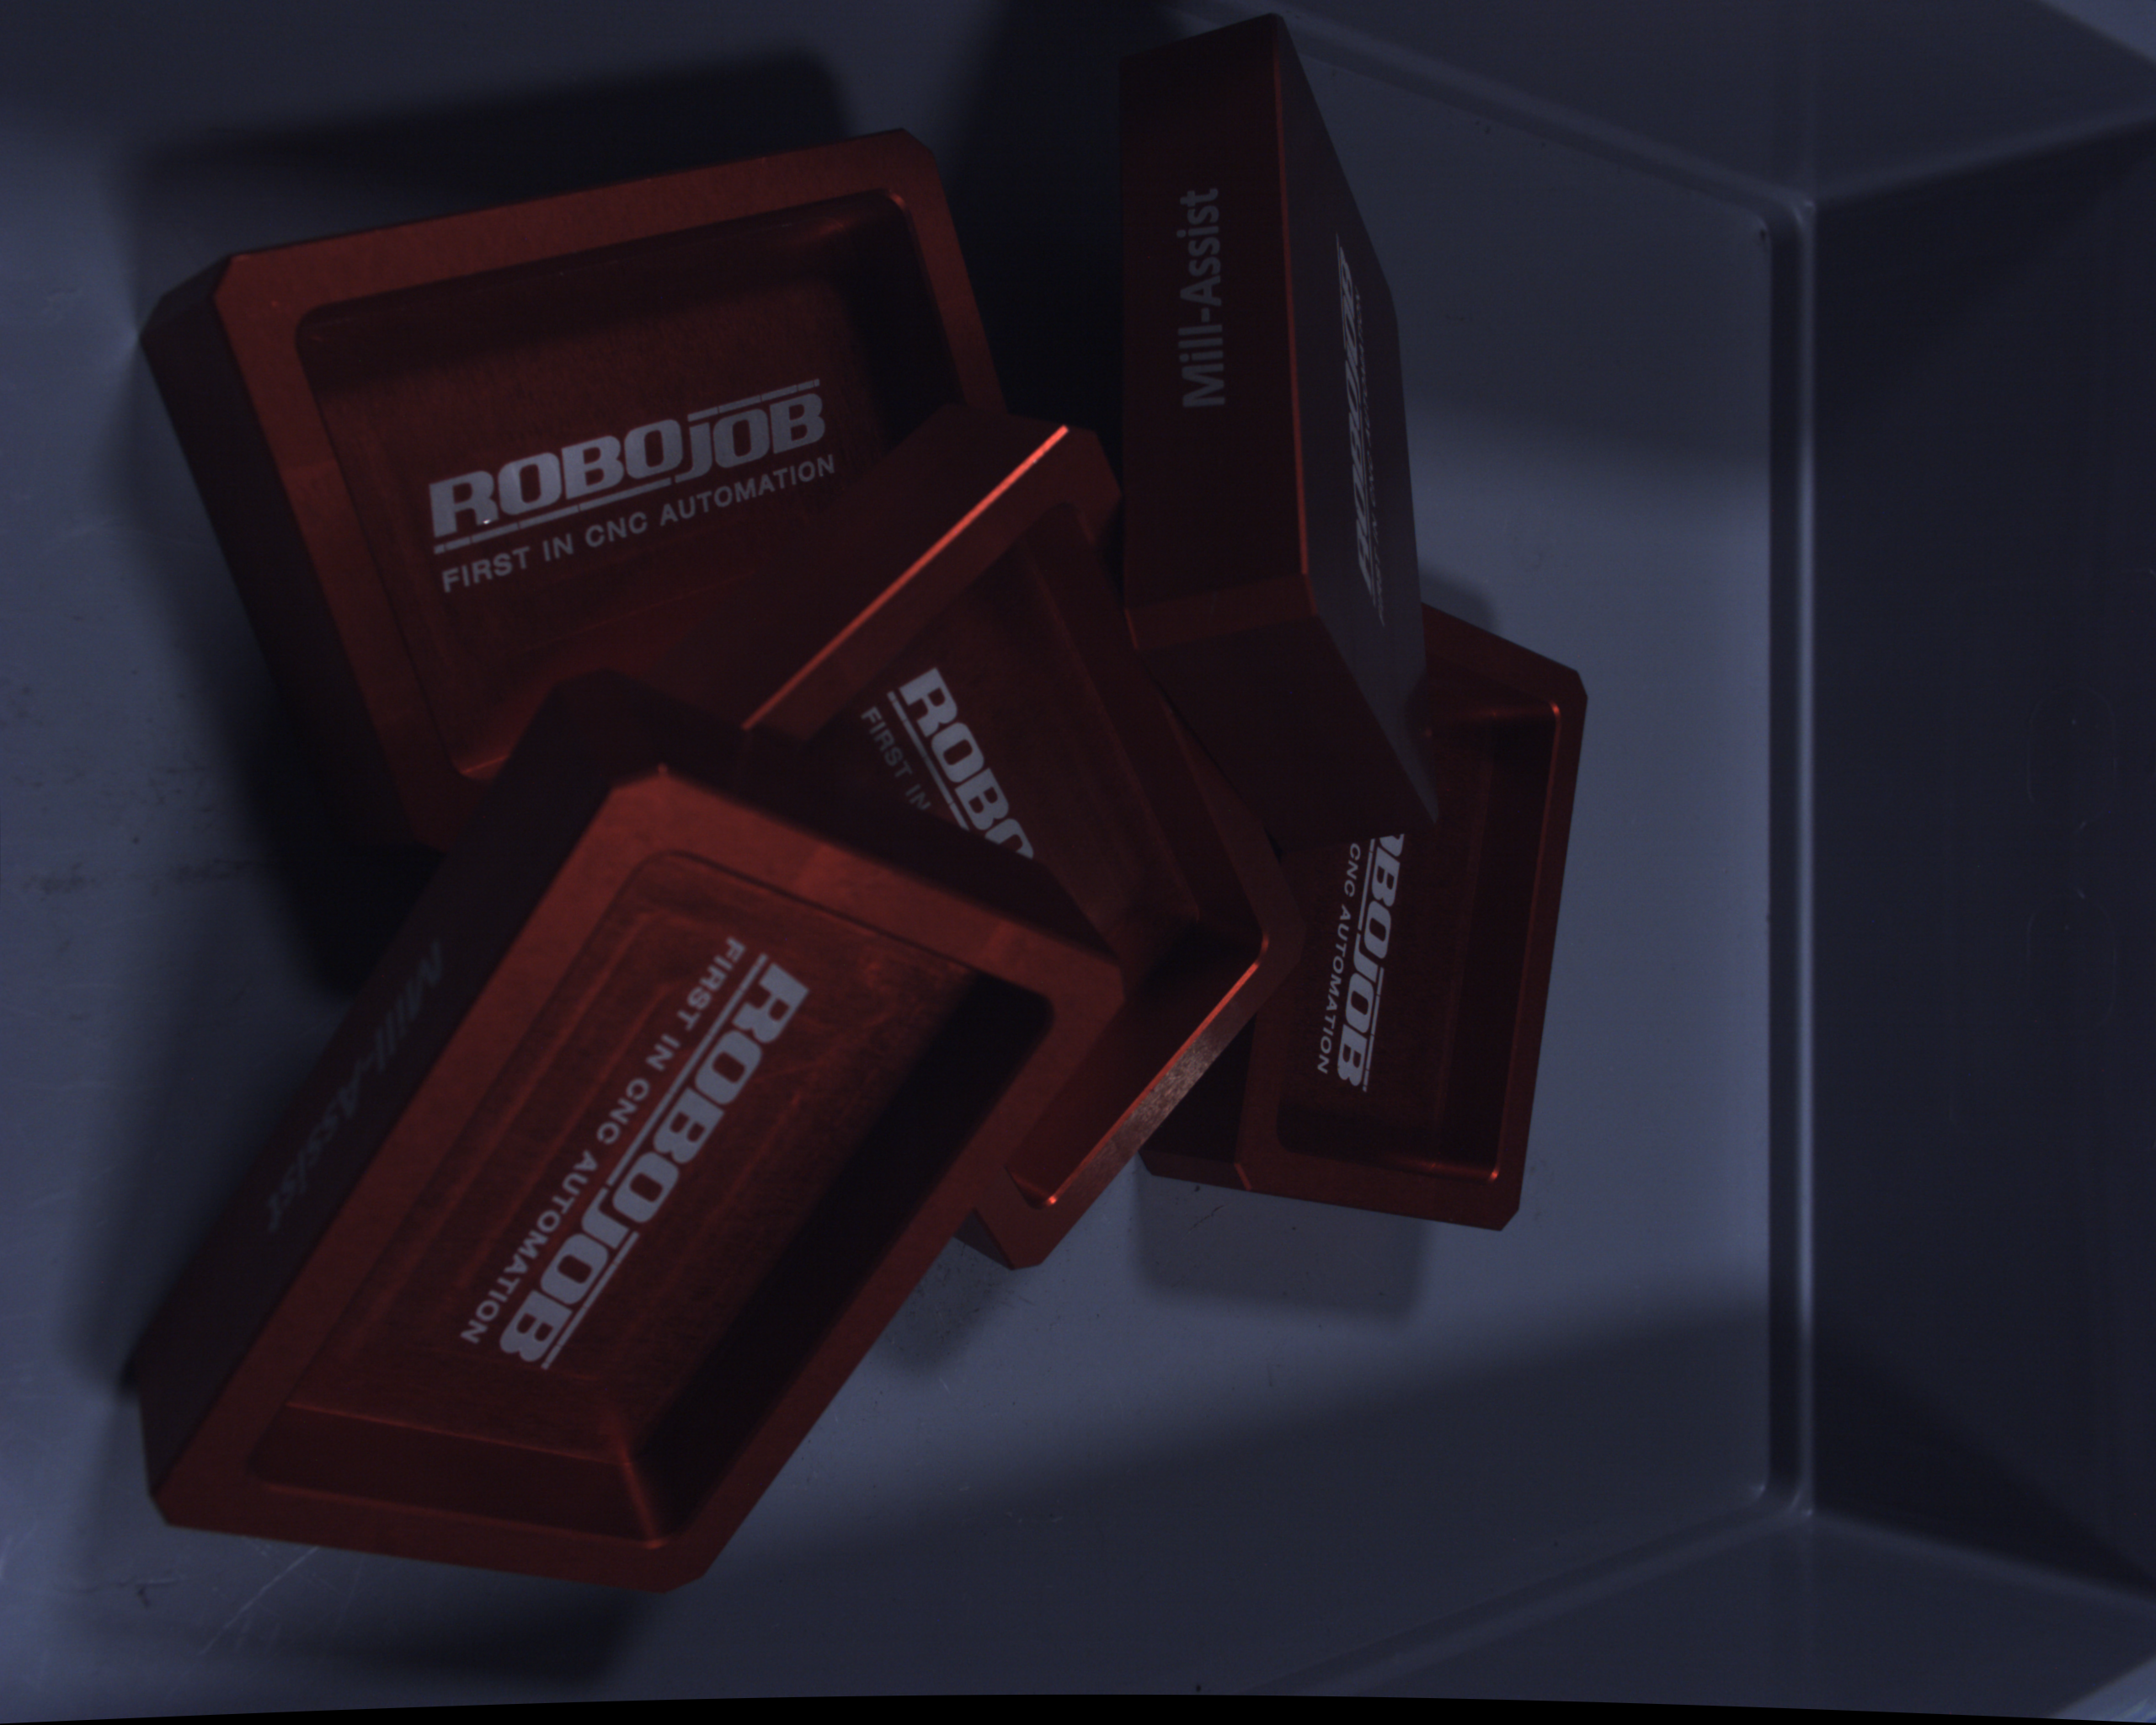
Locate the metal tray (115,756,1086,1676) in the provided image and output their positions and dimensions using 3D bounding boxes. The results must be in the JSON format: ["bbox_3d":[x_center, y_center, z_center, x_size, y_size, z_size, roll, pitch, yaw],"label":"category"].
[{"bbox_3d":[-0.069,0.058,0.307,0.091,0.030,0.129,22,105,-38],"label":"metal tray"}]

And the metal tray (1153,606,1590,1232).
[{"bbox_3d":[0.066,0.011,0.459,0.091,0.030,0.129,16,80,-39],"label":"metal tray"}]

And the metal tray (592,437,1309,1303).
[{"bbox_3d":[-0.015,0.004,0.363,0.090,0.030,0.130,-47,133,-22],"label":"metal tray"}]

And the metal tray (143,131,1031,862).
[{"bbox_3d":[-0.070,-0.063,0.343,0.131,0.030,0.089,-26,107,-37],"label":"metal tray"}]

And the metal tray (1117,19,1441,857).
[{"bbox_3d":[0.038,-0.077,0.390,0.090,0.030,0.130,44,41,-56],"label":"metal tray"}]
